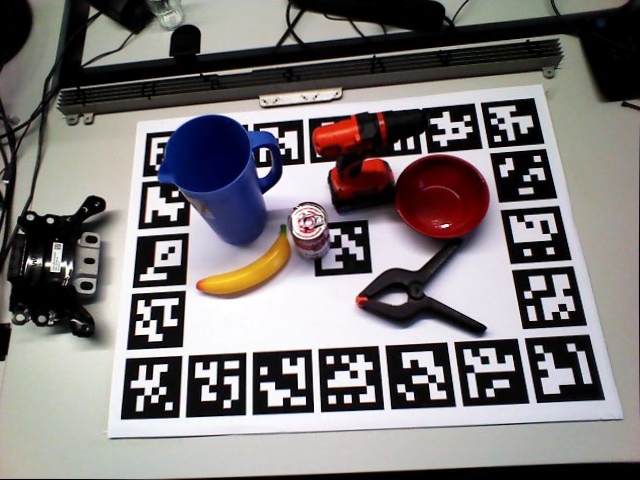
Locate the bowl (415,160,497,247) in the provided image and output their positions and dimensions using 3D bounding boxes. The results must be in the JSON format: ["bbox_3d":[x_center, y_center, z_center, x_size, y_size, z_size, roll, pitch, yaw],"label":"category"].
[{"bbox_3d":[0.235,-0.056,0.893,0.162,0.055,0.161,-2,71,6],"label":"bowl"}]

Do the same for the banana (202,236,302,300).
[{"bbox_3d":[-0.109,0.060,0.900,0.197,0.039,0.074,-28,61,-6],"label":"banana"}]

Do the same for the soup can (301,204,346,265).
[{"bbox_3d":[0.009,-0.009,0.877,0.068,0.102,0.067,-3,61,6],"label":"soup can"}]

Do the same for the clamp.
[{"bbox_3d":[0.184,0.097,0.844,0.203,0.037,0.164,-7,73,4],"label":"clamp"}]

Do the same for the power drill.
[{"bbox_3d":[0.115,-0.131,0.844,0.185,0.187,0.057,-9,69,2],"label":"power drill"}]

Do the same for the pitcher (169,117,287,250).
[{"bbox_3d":[-0.122,-0.082,0.843,0.189,0.243,0.133,-27,66,-5],"label":"pitcher"}]
